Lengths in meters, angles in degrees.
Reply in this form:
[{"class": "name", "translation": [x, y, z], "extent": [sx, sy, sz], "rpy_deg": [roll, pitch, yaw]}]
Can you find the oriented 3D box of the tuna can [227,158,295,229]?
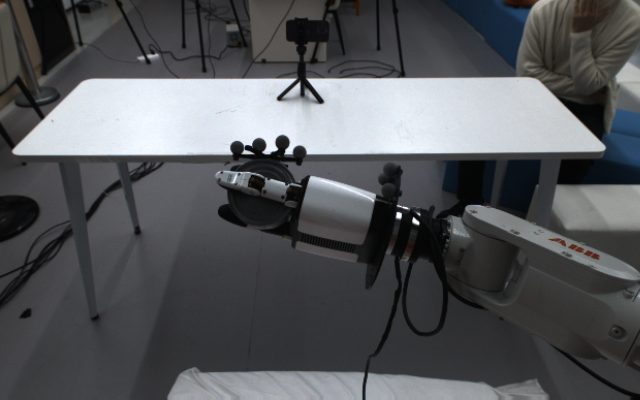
[{"class": "tuna can", "translation": [-0.068, -0.007, 0.603], "extent": [0.085, 0.034, 0.085], "rpy_deg": [0, 76, 0]}]
